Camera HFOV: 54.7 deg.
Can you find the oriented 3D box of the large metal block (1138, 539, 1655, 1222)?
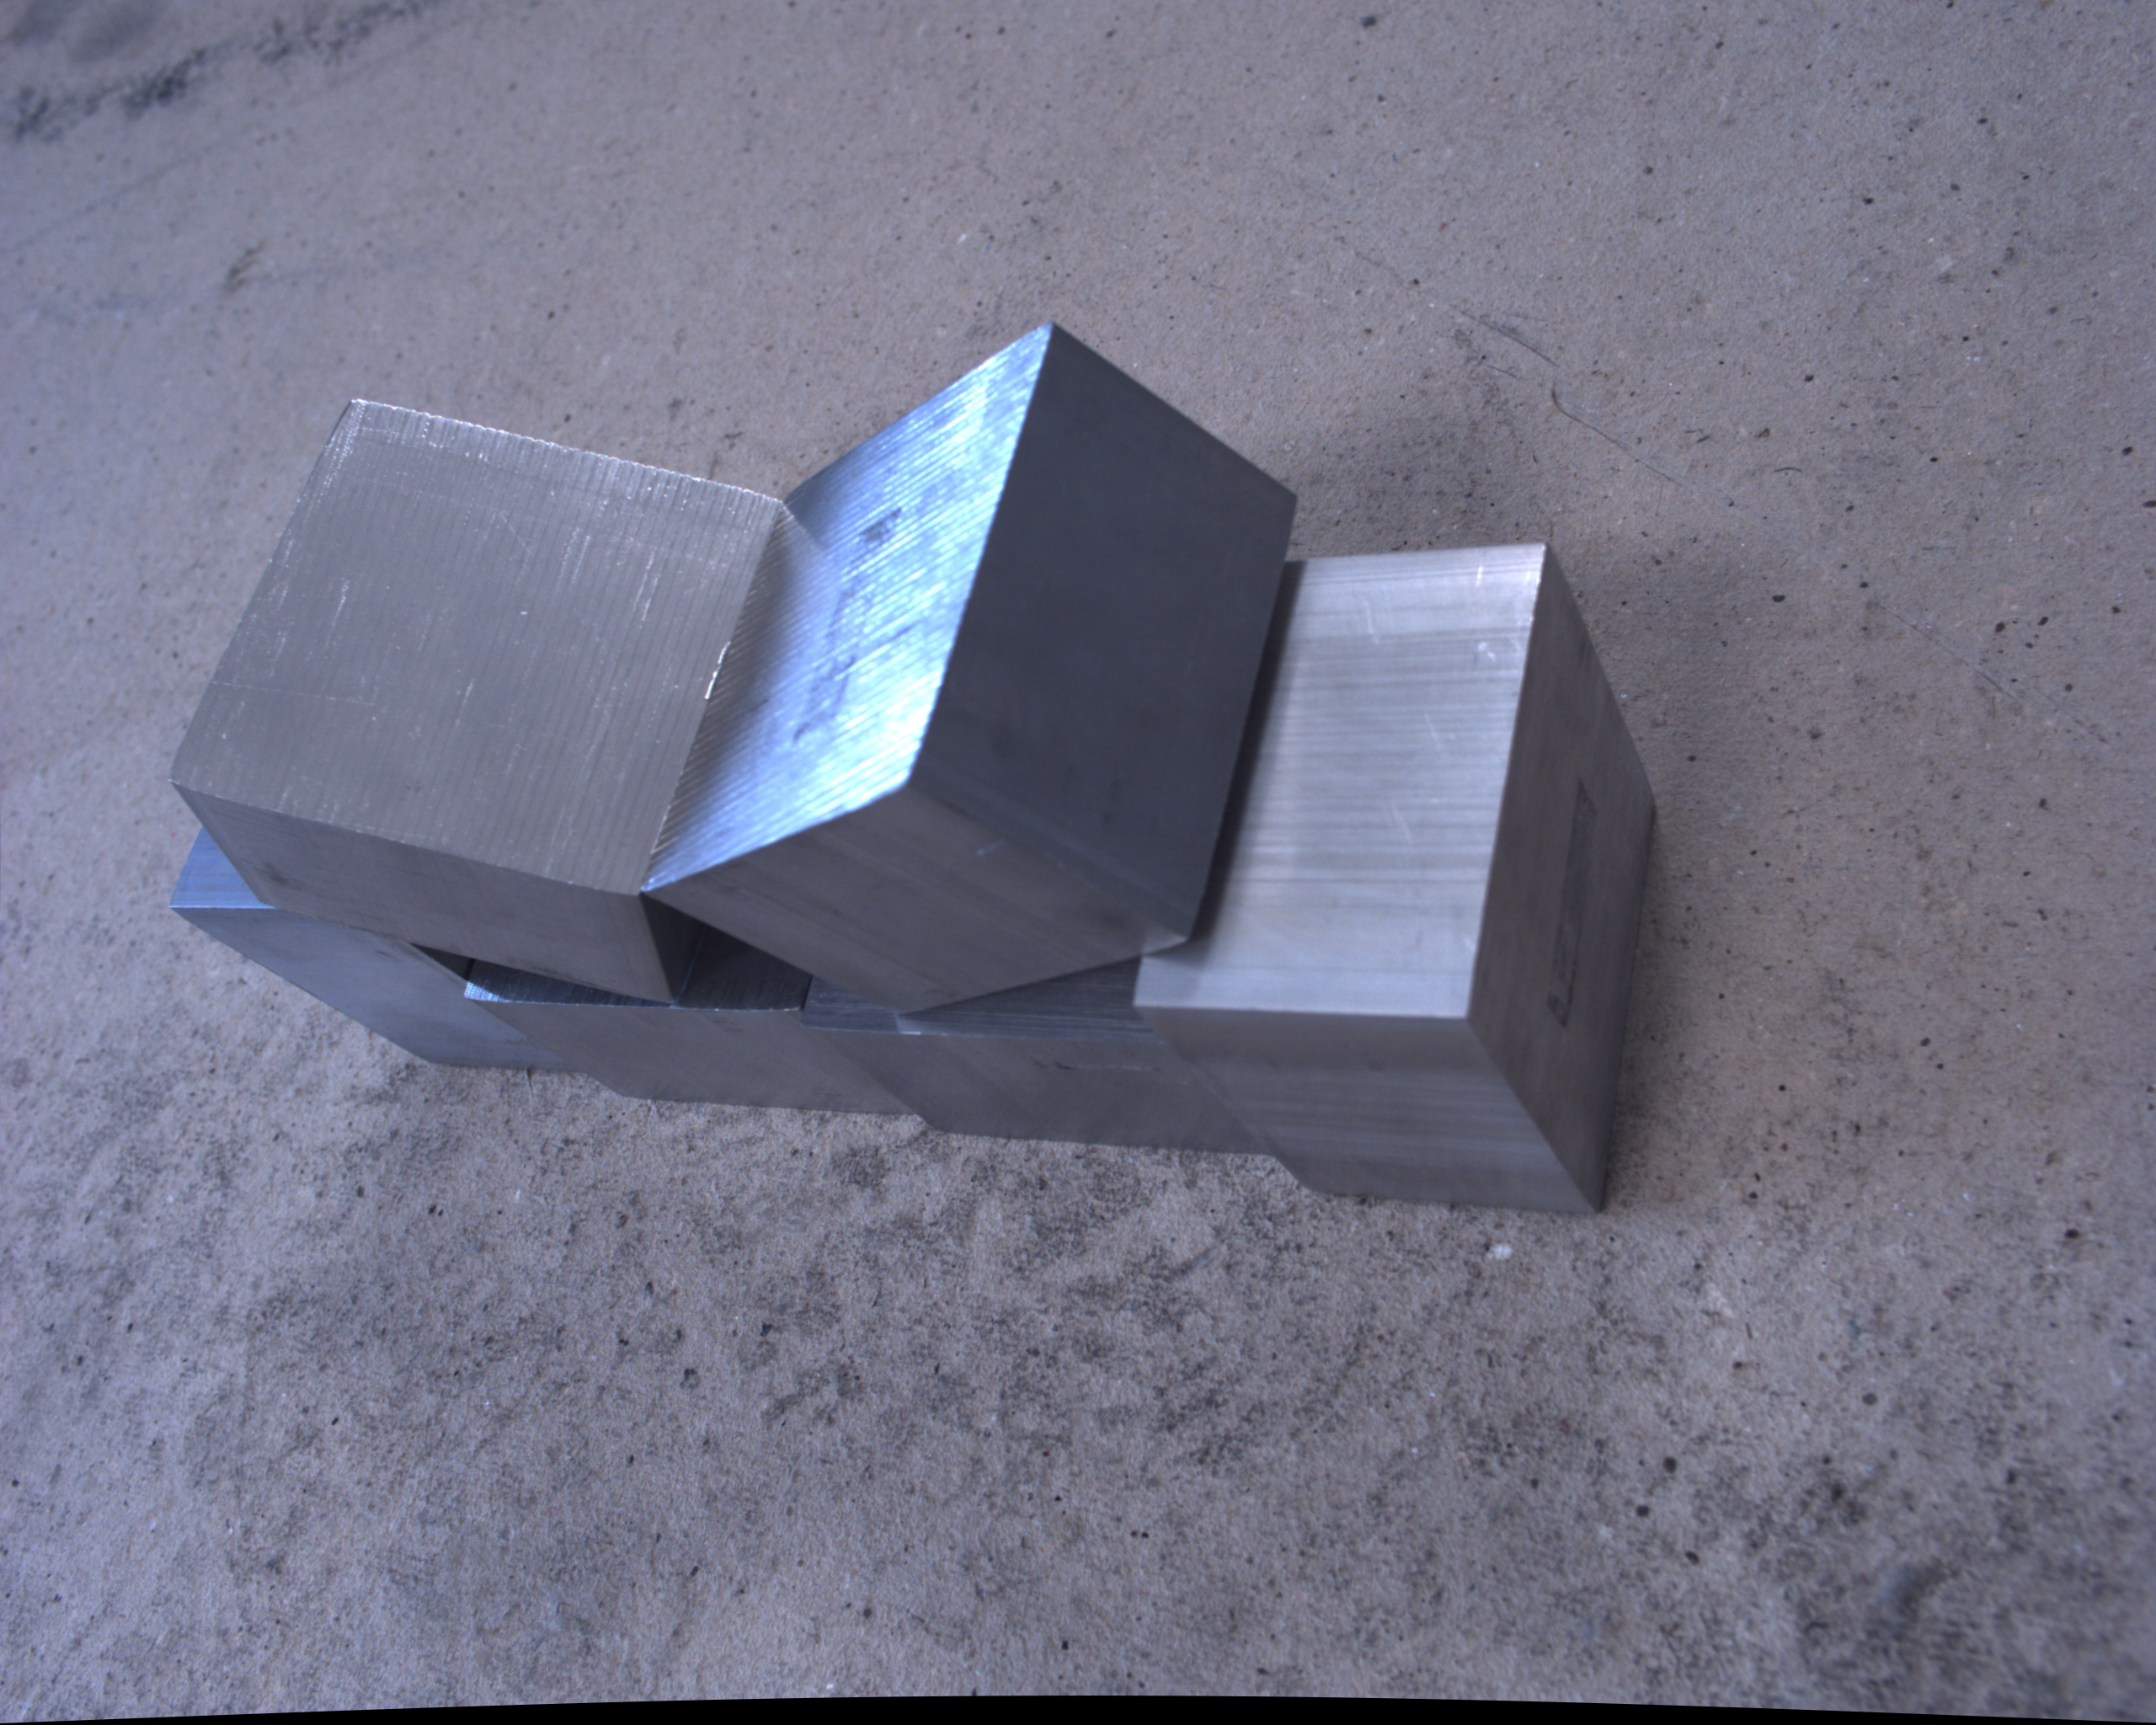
[{"bbox_3d":[0.056,0.005,0.339,0.050,0.080,0.080,0,62,28],"label":"large metal block"}]

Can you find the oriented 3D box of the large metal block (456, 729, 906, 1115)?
[{"bbox_3d":[-0.065,0.002,0.422,0.080,0.050,0.080,0,62,28],"label":"large metal block"}]

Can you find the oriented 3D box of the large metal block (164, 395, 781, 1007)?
[{"bbox_3d":[-0.101,-0.028,0.375,0.080,0.050,0.080,14,65,2],"label":"large metal block"}]

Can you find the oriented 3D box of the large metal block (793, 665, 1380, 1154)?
[{"bbox_3d":[0.005,0.005,0.382,0.080,0.050,0.080,0,62,28],"label":"large metal block"}]

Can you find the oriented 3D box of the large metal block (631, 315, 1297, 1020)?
[{"bbox_3d":[-0.019,-0.027,0.331,0.080,0.050,0.080,-18,49,51],"label":"large metal block"}]

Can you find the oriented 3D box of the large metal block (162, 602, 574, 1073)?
[{"bbox_3d":[-0.130,-0.008,0.443,0.050,0.080,0.080,-1,60,28],"label":"large metal block"}]
